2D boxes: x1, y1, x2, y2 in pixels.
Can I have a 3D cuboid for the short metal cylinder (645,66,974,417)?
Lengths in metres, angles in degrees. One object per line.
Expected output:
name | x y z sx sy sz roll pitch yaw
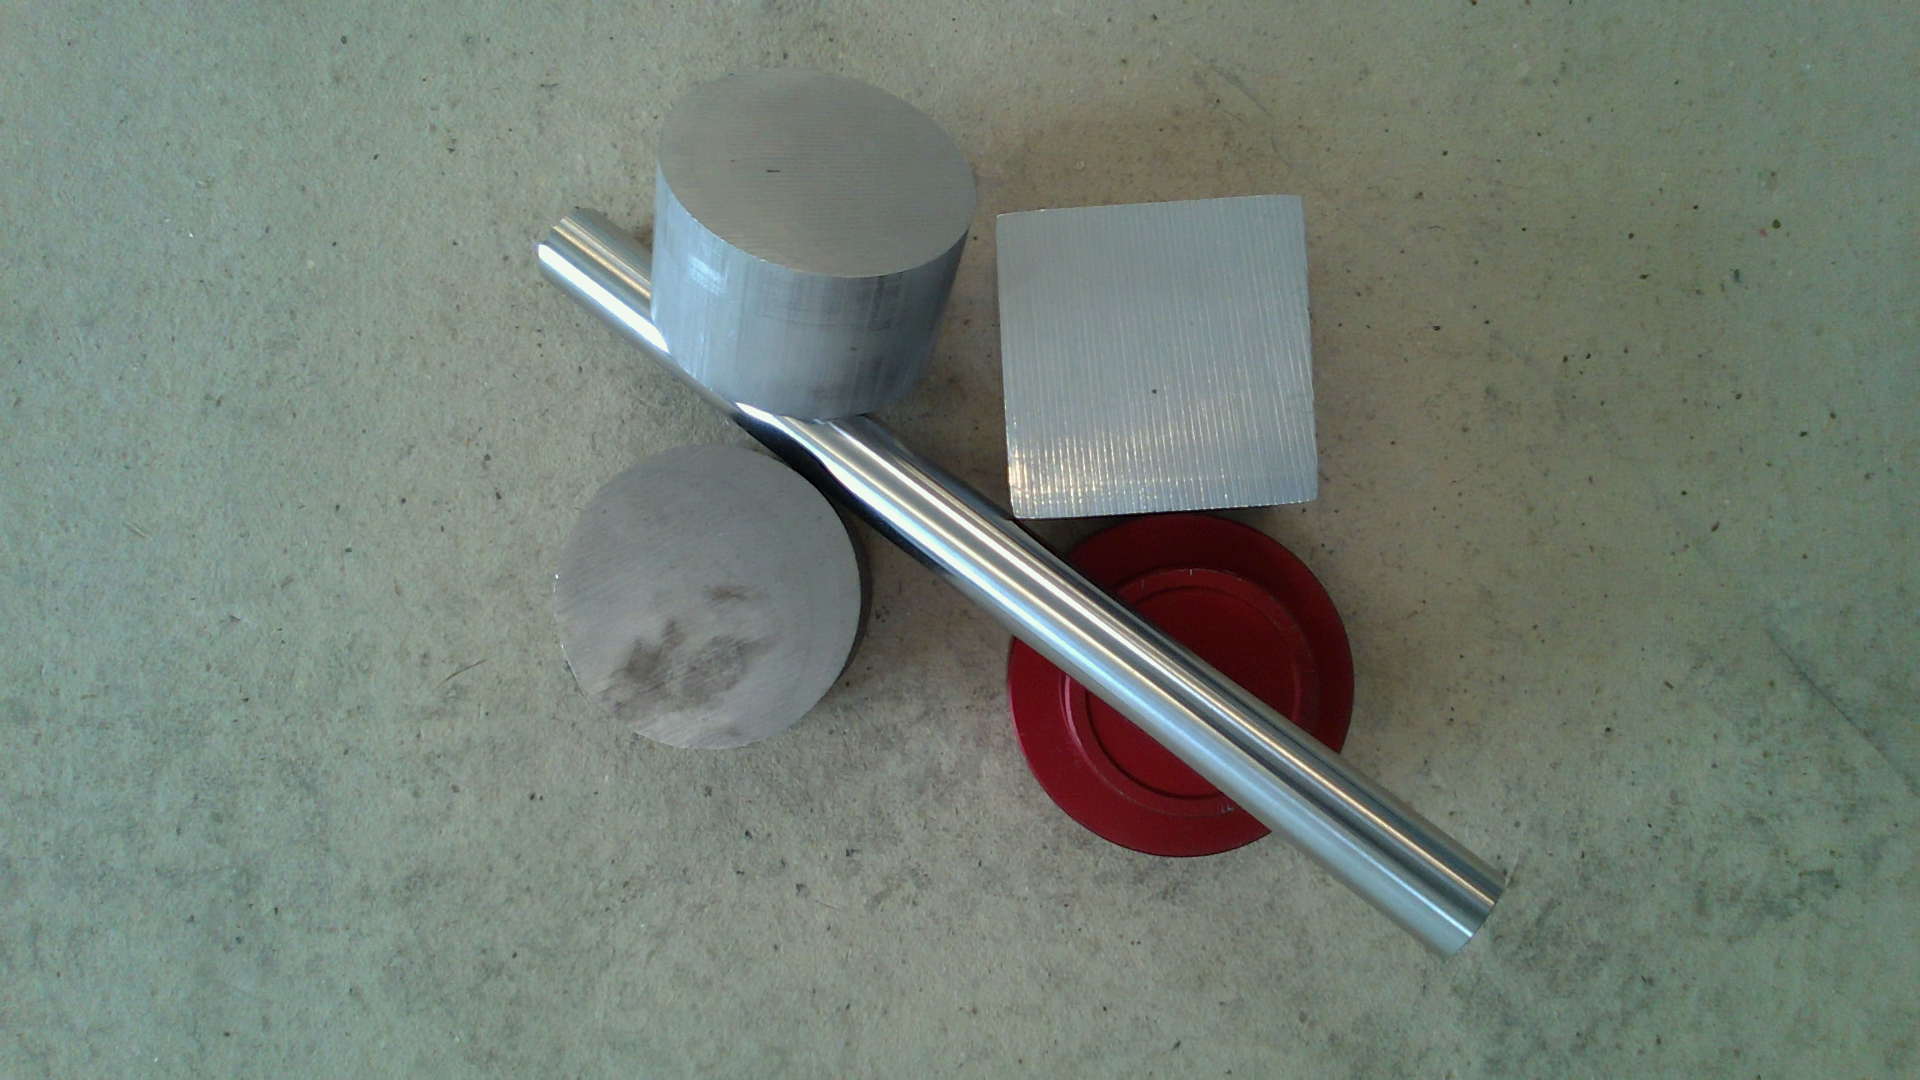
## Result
short metal cylinder | -0.041 -0.079 0.364 0.080 0.050 0.080 8 51 -10

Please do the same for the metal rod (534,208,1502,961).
metal rod | 0.005 0.003 0.362 0.300 0.025 0.025 37 90 13

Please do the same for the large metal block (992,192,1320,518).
large metal block | 0.051 -0.048 0.381 0.080 0.050 0.080 -3 90 0

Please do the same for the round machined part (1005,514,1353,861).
round machined part | 0.062 0.042 0.387 0.098 0.042 0.098 0 90 0

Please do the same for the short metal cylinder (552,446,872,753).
short metal cylinder | -0.066 0.016 0.384 0.080 0.050 0.080 0 90 0
